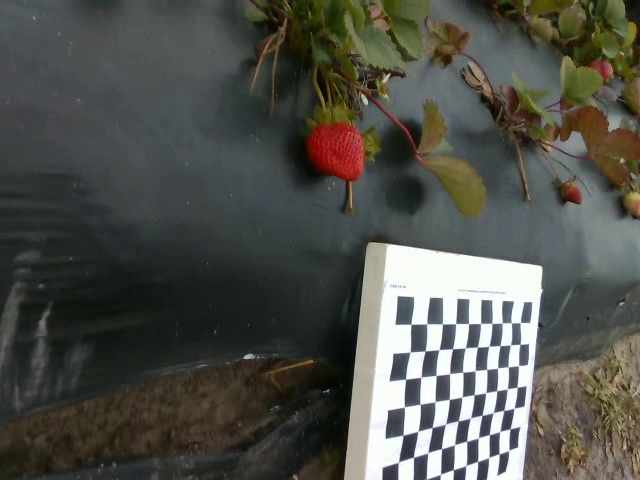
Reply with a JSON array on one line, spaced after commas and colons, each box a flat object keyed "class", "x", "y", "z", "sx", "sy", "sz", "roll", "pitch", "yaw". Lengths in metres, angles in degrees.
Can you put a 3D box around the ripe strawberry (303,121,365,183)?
[{"class": "ripe strawberry", "x": 0.006, "y": -0.018, "z": 0.155, "sx": 0.014, "sy": 0.017, "sz": 0.018, "roll": -40, "pitch": -26, "yaw": 15}]
